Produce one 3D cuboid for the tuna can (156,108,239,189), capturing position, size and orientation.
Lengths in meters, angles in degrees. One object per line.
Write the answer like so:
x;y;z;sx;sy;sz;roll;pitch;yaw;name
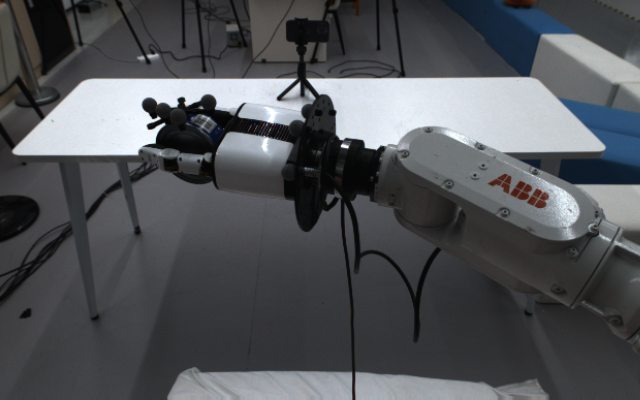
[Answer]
-0.152;-0.062;0.592;0.085;0.085;0.034;11;38;12;tuna can
